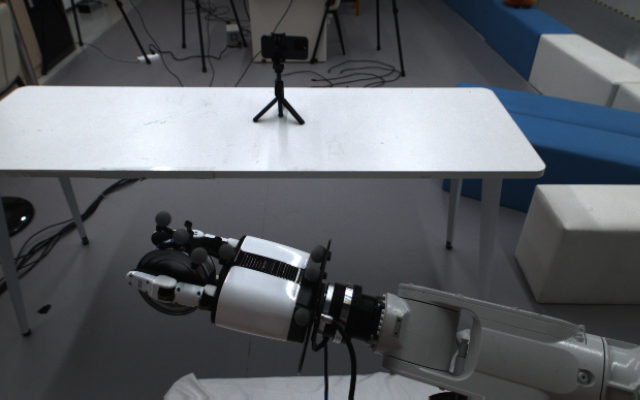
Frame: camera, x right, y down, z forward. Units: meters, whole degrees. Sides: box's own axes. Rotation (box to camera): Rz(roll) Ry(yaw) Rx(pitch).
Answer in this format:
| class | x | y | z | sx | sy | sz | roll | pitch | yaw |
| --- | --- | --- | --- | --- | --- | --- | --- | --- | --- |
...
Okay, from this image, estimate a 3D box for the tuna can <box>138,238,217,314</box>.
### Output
| class | x | y | z | sx | sy | sz | roll | pitch | yaw |
| --- | --- | --- | --- | --- | --- | --- | --- | --- | --- |
| tuna can | -0.163 | 0.089 | 0.562 | 0.085 | 0.085 | 0.034 | 7 | 16 | 7 |
